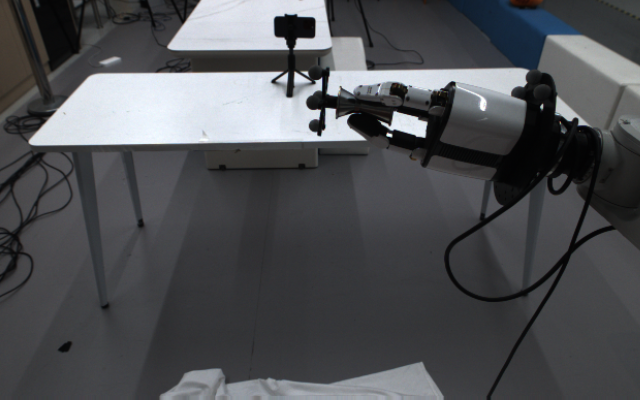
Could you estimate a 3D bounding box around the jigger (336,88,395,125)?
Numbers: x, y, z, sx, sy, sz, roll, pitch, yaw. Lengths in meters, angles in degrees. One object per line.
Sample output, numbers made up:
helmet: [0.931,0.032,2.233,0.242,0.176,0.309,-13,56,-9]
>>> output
jigger: [0.062,-0.120,0.597,0.071,0.043,0.043,5,35,3]
